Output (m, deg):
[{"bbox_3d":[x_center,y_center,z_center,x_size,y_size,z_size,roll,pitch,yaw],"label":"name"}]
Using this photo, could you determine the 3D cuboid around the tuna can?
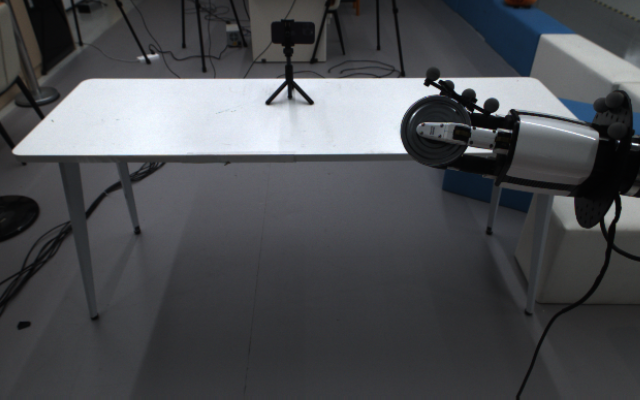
[{"bbox_3d":[0.144,-0.087,0.596,0.085,0.085,0.034,13,5,15],"label":"tuna can"}]
